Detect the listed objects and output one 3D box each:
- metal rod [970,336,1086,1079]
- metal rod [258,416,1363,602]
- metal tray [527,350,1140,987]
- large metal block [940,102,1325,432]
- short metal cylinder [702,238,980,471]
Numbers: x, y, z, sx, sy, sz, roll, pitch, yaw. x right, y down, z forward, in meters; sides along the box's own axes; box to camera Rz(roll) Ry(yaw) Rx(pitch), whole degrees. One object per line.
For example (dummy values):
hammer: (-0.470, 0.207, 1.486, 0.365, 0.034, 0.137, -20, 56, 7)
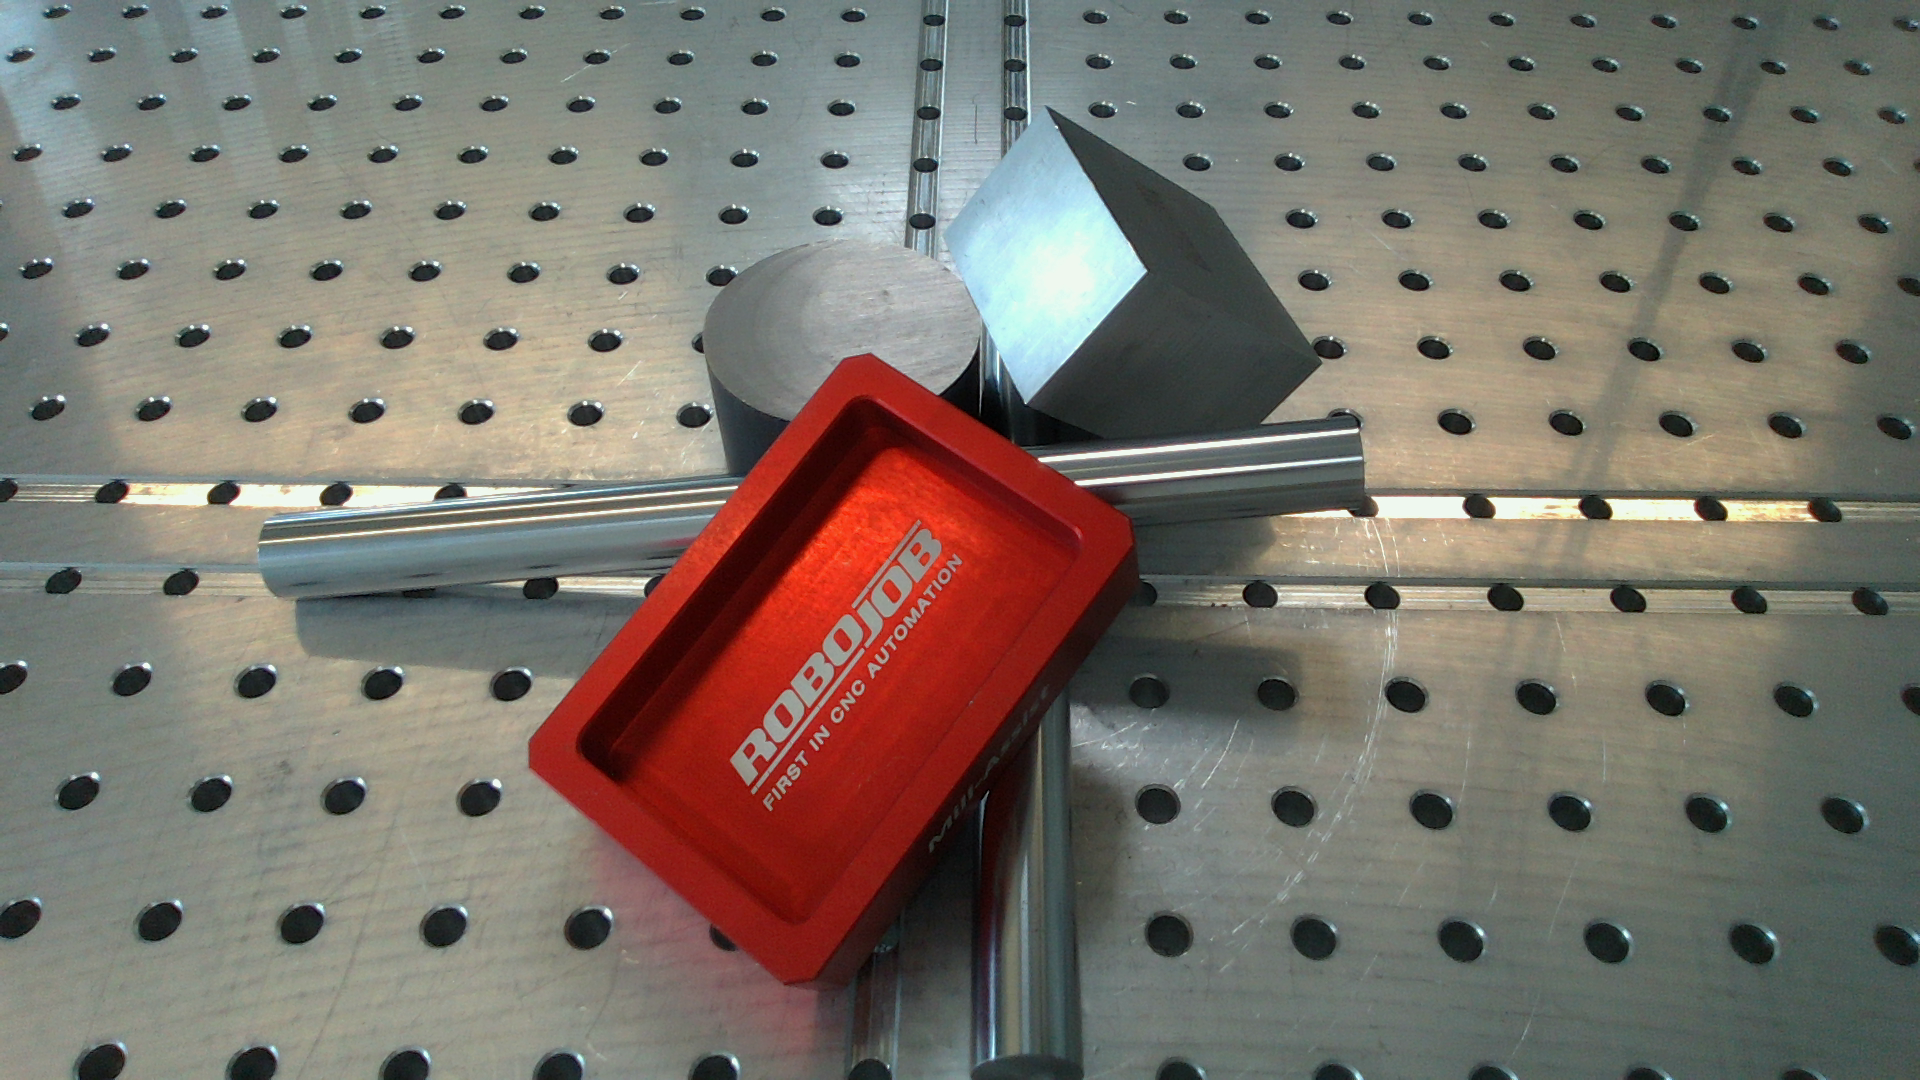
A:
metal rod: (0.018, 0.001, 0.394, 0.025, 0.025, 0.300, 1, 50, 1)
metal rod: (-0.044, -0.008, 0.379, 0.300, 0.025, 0.025, -5, 50, 5)
metal tray: (-0.028, 0.029, 0.333, 0.090, 0.030, 0.130, 34, 78, 18)
large metal block: (0.051, -0.073, 0.414, 0.080, 0.050, 0.080, 17, 37, -40)
short metal cylinder: (-0.034, -0.046, 0.417, 0.080, 0.050, 0.080, 0, 50, 0)
